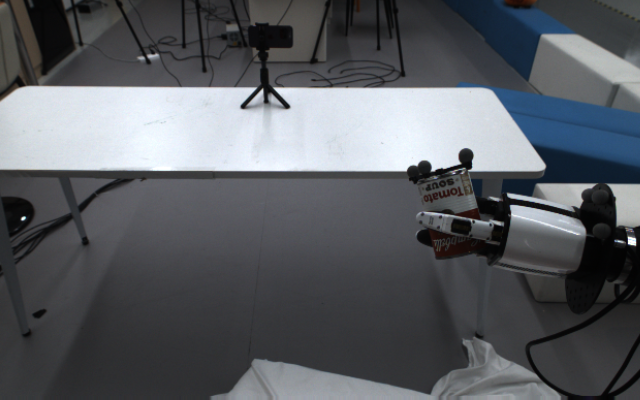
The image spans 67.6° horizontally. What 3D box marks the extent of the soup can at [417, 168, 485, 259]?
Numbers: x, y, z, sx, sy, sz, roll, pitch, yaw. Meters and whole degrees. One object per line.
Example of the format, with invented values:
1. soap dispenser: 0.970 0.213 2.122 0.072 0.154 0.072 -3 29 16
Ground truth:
1. soup can: 0.168 0.017 0.616 0.067 0.101 0.067 -14 -2 -1
